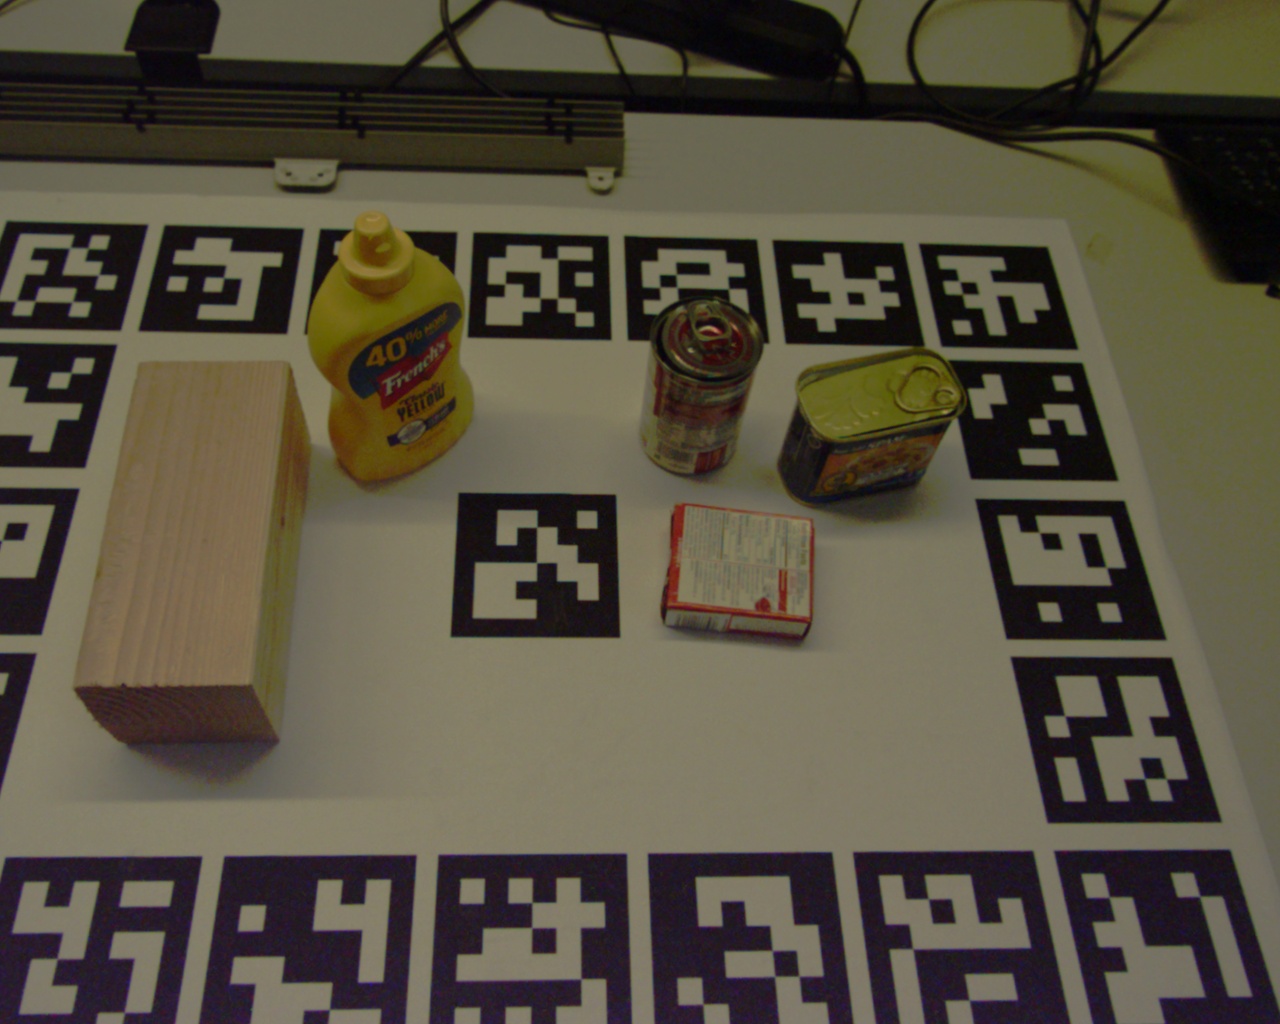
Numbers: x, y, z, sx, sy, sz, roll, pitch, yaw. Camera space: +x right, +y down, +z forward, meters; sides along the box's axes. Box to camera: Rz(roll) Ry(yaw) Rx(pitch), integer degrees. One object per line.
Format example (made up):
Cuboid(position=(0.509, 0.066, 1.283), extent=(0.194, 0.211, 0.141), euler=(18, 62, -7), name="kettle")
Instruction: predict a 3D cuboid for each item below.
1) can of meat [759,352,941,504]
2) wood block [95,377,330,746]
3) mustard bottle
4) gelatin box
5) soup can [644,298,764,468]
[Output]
Cuboid(position=(0.136, -0.054, 0.760), extent=(0.101, 0.084, 0.058), euler=(-12, 62, -14), name="can of meat")
Cuboid(position=(-0.246, 0.026, 0.681), extent=(0.091, 0.090, 0.207), euler=(1, 55, -6), name="wood block")
Cuboid(position=(-0.151, -0.090, 0.703), extent=(0.095, 0.191, 0.059), euler=(-23, 64, -19), name="mustard bottle")
Cuboid(position=(0.063, 0.039, 0.724), extent=(0.089, 0.030, 0.073), euler=(7, 61, 3), name="gelatin box")
Cuboid(position=(0.039, -0.082, 0.748), extent=(0.068, 0.102, 0.068), euler=(2, 61, -4), name="soup can")
